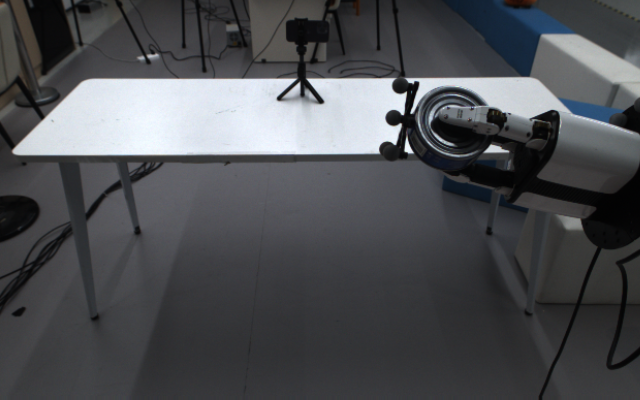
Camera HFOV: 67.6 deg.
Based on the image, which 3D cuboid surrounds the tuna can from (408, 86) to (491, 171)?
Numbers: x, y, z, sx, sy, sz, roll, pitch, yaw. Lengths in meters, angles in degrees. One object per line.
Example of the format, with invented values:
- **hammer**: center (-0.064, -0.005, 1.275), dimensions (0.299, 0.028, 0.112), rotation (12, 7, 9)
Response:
- **tuna can**: center (0.141, -0.078, 0.514), dimensions (0.085, 0.034, 0.085), rotation (2, 72, -5)
